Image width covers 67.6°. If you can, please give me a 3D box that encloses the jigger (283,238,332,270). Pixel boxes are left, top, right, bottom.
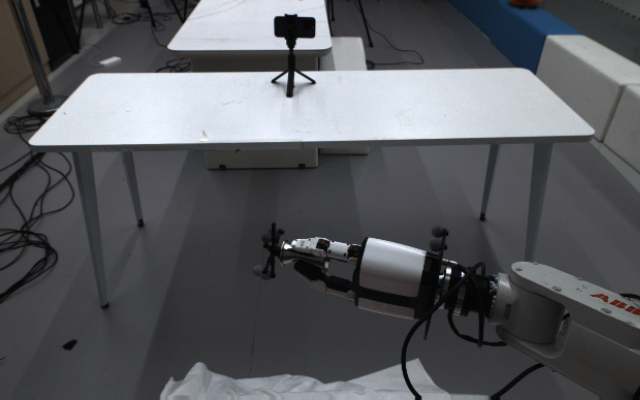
[{"bbox_3d":[-0.015,0.078,0.720,0.071,0.043,0.043,6,35,11],"label":"jigger"}]
